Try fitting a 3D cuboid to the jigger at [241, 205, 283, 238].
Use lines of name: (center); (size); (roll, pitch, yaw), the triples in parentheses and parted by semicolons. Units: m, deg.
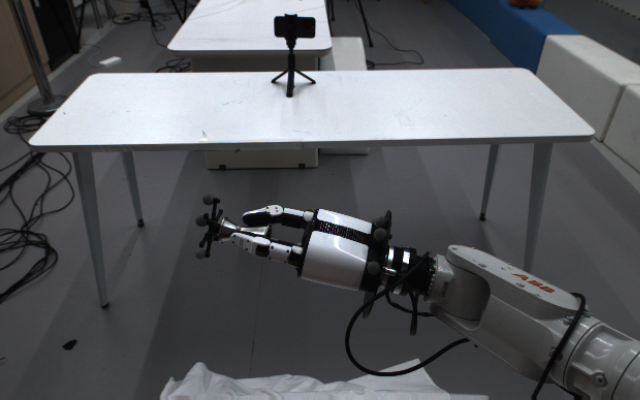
jigger: (-0.102, 0.047, 0.706); (0.071, 0.043, 0.043); (10, 35, 3)
